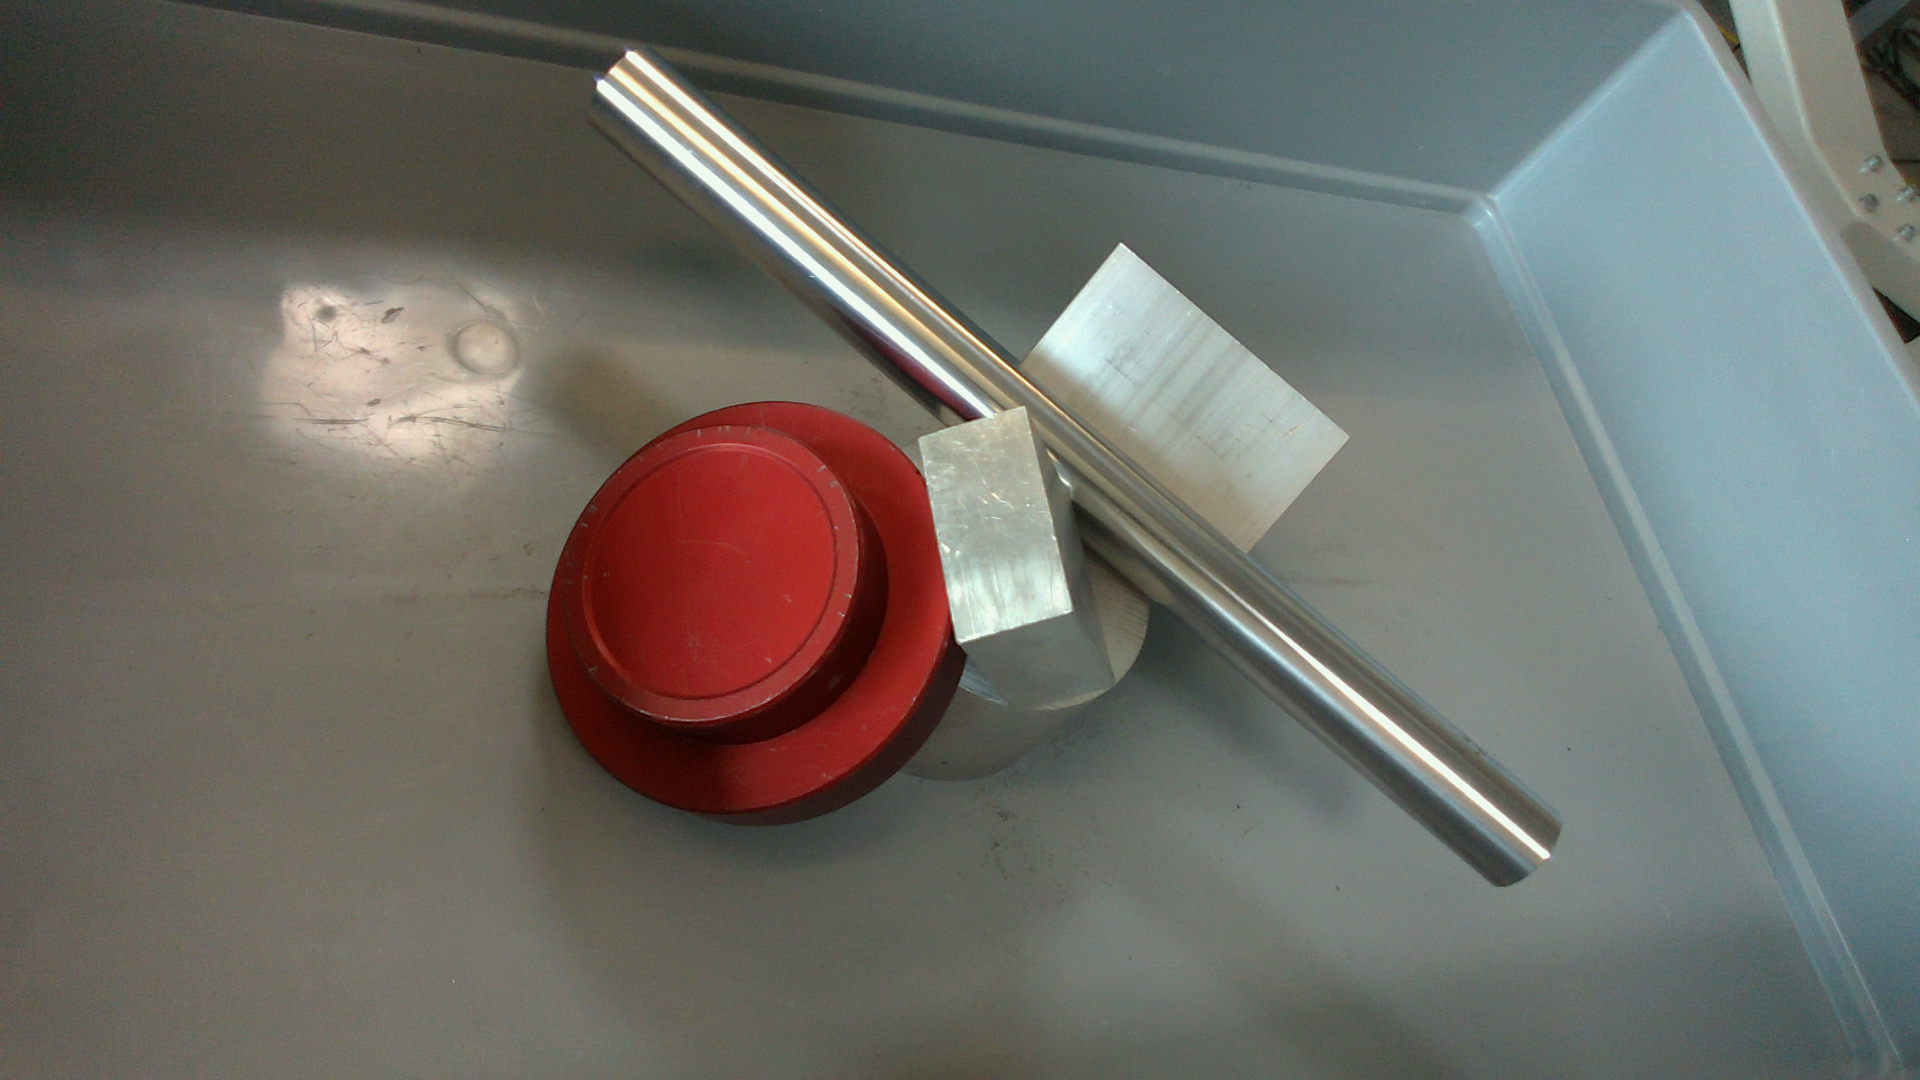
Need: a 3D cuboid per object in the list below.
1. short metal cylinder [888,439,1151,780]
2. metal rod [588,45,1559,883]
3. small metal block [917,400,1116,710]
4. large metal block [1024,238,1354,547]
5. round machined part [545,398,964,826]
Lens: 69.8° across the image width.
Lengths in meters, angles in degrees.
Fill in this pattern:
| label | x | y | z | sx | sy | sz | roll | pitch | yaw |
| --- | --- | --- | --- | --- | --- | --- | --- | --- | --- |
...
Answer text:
| label | x | y | z | sx | sy | sz | roll | pitch | yaw |
| --- | --- | --- | --- | --- | --- | --- | --- | --- | --- |
| short metal cylinder | 0.003 | 0.017 | 0.363 | 0.080 | 0.050 | 0.080 | 14 | 56 | -21 |
| metal rod | 0.029 | -0.018 | 0.351 | 0.300 | 0.025 | 0.025 | 40 | 51 | -1 |
| small metal block | 0.013 | 0.005 | 0.309 | 0.025 | 0.050 | 0.050 | -16 | 64 | 9 |
| large metal block | 0.059 | -0.038 | 0.399 | 0.080 | 0.050 | 0.080 | 39 | 8 | -1 |
| round machined part | -0.049 | 0.012 | 0.310 | 0.098 | 0.042 | 0.098 | -4 | 70 | 11 |
